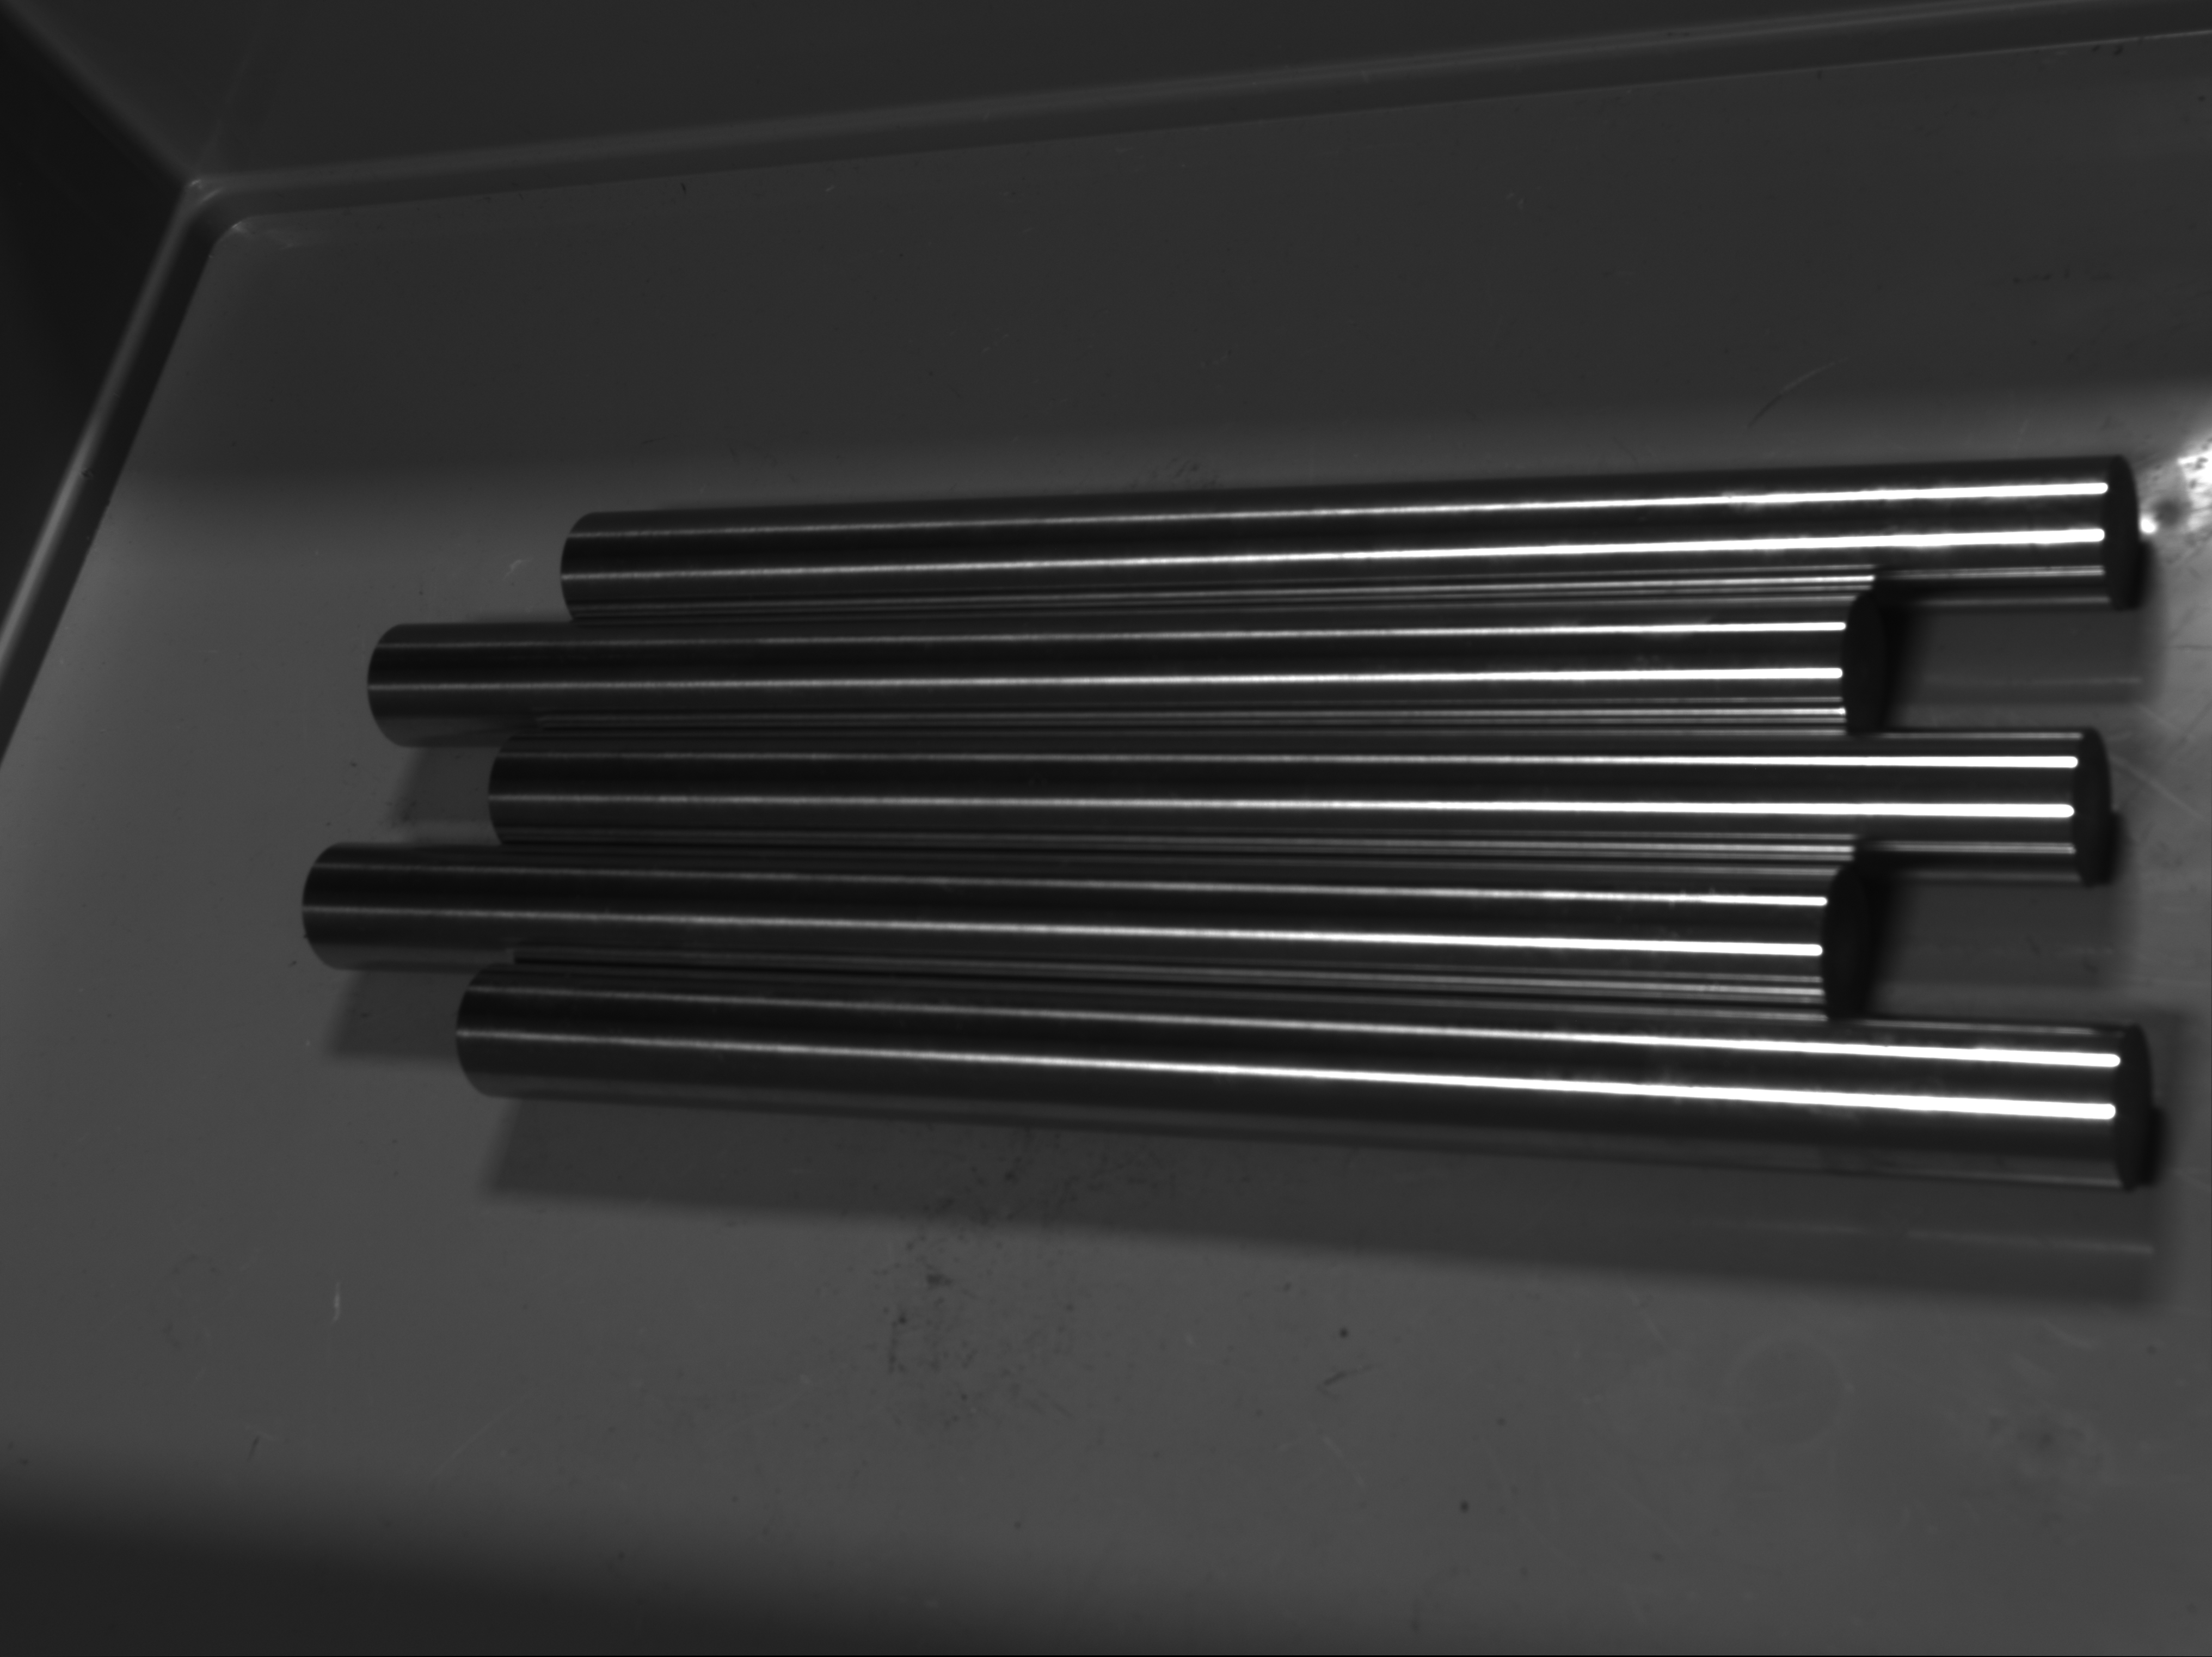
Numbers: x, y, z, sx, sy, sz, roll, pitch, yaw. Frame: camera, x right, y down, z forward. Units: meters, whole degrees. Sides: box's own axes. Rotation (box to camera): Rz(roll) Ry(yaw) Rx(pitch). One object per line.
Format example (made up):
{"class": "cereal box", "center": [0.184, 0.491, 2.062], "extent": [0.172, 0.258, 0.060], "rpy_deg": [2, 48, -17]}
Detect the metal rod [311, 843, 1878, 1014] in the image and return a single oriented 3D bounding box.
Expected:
{"class": "metal rod", "center": [-0.015, 0.017, 0.641], "extent": [0.299, 0.025, 0.025], "rpy_deg": [1, 62, 29]}

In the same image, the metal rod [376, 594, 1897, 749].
{"class": "metal rod", "center": [-0.007, -0.027, 0.664], "extent": [0.299, 0.025, 0.025], "rpy_deg": [1, 62, 29]}

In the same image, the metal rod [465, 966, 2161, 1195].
{"class": "metal rod", "center": [0.020, 0.040, 0.608], "extent": [0.299, 0.025, 0.025], "rpy_deg": [1, 62, 29]}

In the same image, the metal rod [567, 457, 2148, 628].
{"class": "metal rod", "center": [0.032, -0.048, 0.656], "extent": [0.299, 0.025, 0.025], "rpy_deg": [1, 62, 29]}

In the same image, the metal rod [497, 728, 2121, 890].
{"class": "metal rod", "center": [0.022, -0.005, 0.634], "extent": [0.299, 0.025, 0.025], "rpy_deg": [1, 62, 29]}
